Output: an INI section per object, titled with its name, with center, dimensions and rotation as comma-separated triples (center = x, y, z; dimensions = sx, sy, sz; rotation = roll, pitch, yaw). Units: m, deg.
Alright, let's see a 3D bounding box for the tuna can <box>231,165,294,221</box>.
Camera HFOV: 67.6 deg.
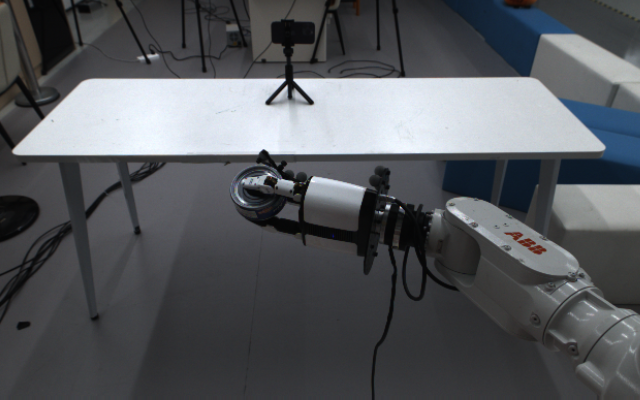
[tuna can]
center = -0.092, -0.007, 0.749
dimensions = 0.085, 0.034, 0.085
rotation = -4, 58, 6
